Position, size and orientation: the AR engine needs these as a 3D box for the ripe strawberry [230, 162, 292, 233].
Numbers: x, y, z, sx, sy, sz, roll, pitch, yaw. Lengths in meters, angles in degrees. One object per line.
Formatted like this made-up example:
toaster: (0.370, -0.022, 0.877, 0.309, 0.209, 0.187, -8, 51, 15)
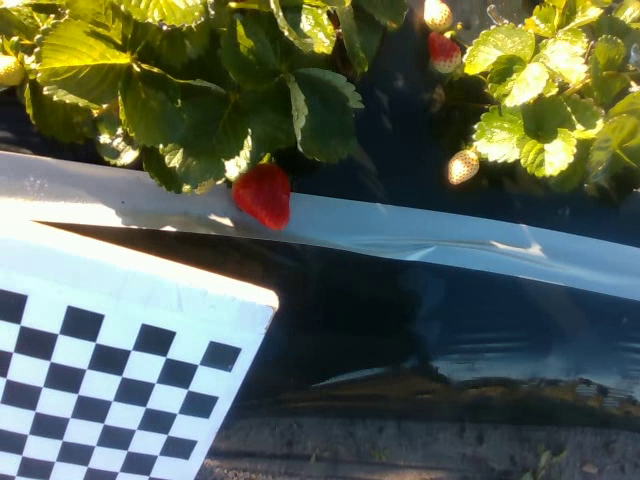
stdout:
ripe strawberry: (-0.040, -0.030, 0.420, 0.045, 0.064, 0.048, -39, -34, 16)
